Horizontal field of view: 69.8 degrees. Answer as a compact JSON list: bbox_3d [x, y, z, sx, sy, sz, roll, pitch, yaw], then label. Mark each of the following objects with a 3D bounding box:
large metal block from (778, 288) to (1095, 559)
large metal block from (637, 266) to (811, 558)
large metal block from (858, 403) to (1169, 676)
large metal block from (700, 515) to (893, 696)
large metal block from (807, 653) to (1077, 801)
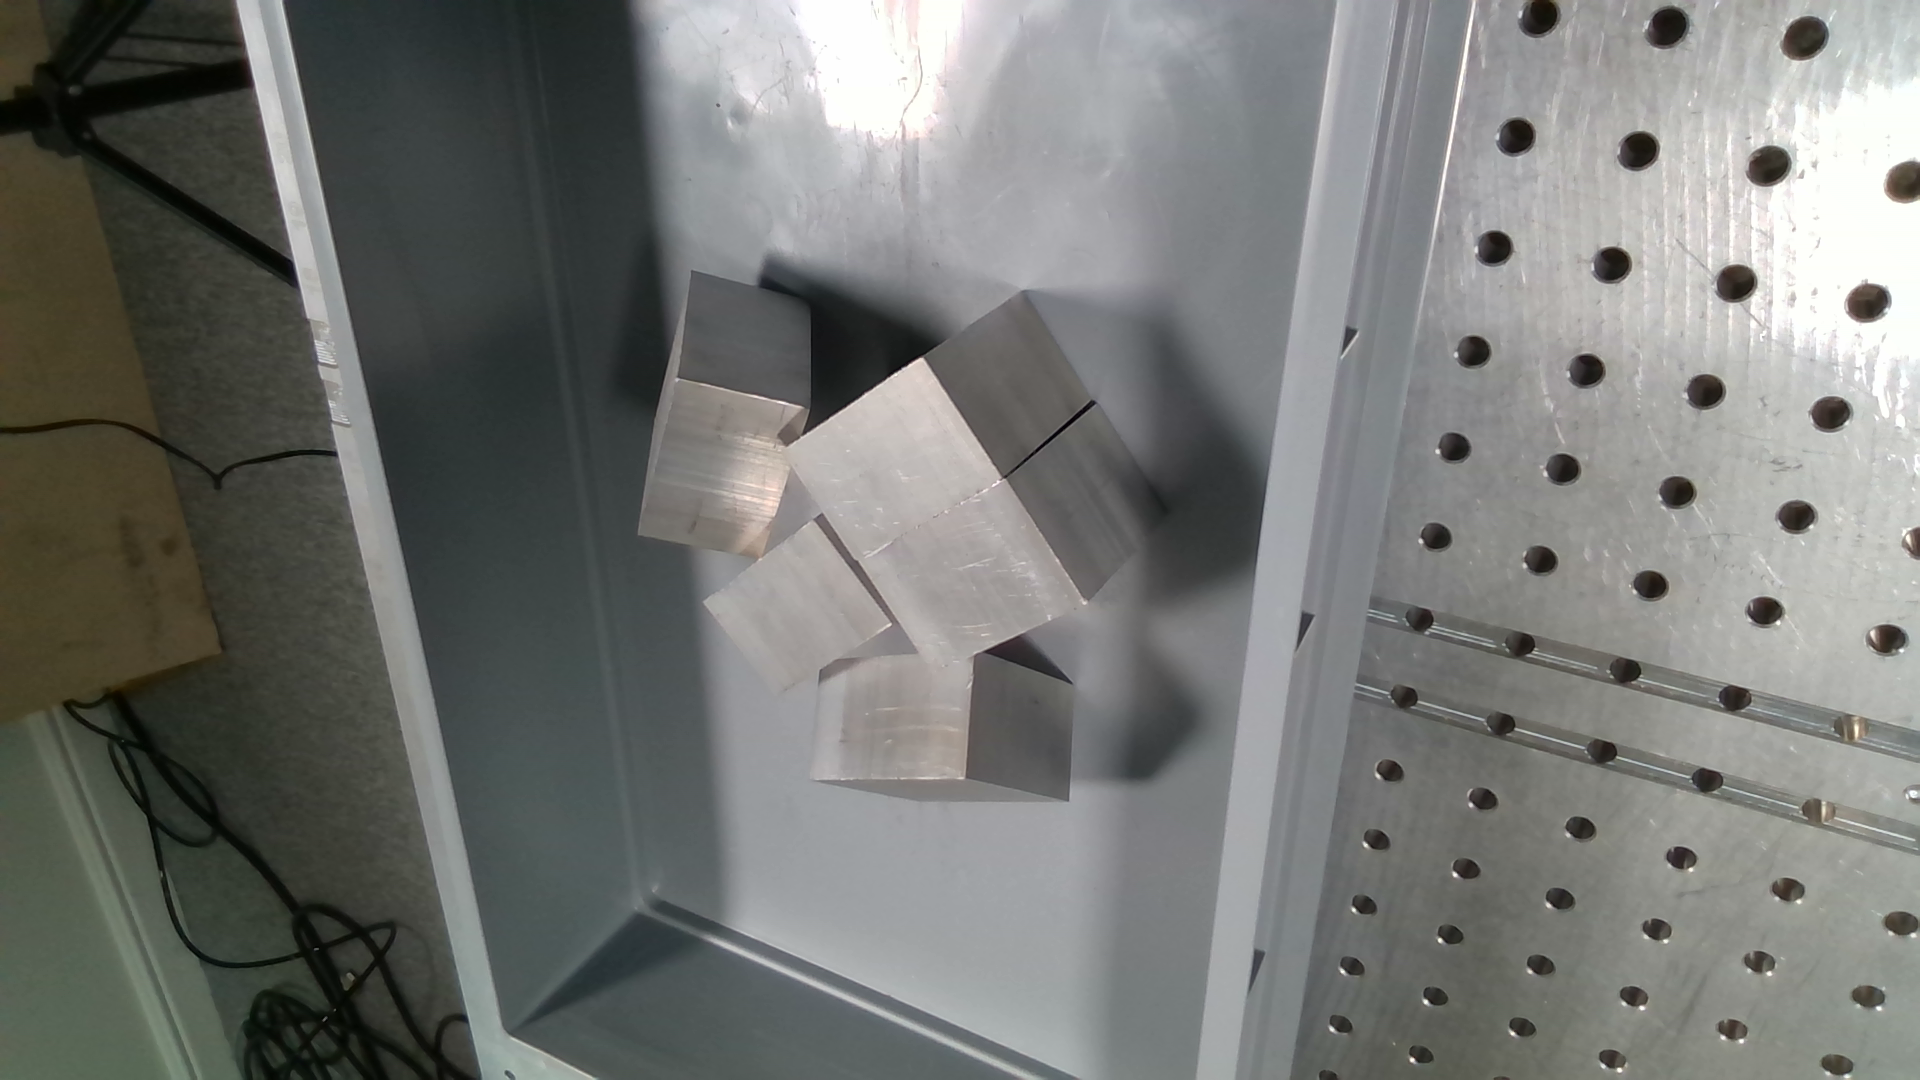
[{"bbox_3d":[-0.008,-0.045,0.524,0.080,0.080,0.050,-27,99,39],"label":"large metal block"},{"bbox_3d":[-0.096,-0.052,0.565,0.050,0.080,0.080,12,129,-15],"label":"large metal block"},{"bbox_3d":[0.022,-0.001,0.529,0.080,0.080,0.050,-29,98,39],"label":"large metal block"},{"bbox_3d":[-0.048,0.012,0.578,0.080,0.080,0.050,-33,96,39],"label":"large metal block"},{"bbox_3d":[-0.006,0.081,0.583,0.080,0.080,0.050,-7,71,34],"label":"large metal block"}]
